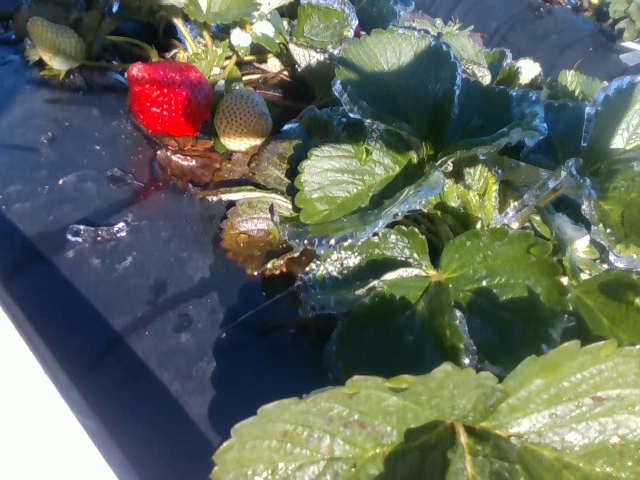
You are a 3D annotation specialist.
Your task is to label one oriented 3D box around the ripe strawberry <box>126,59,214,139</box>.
[{"bbox_3d":[-0.069,-0.063,0.268,0.040,0.042,0.053,4,-5,13],"label":"ripe strawberry"}]
